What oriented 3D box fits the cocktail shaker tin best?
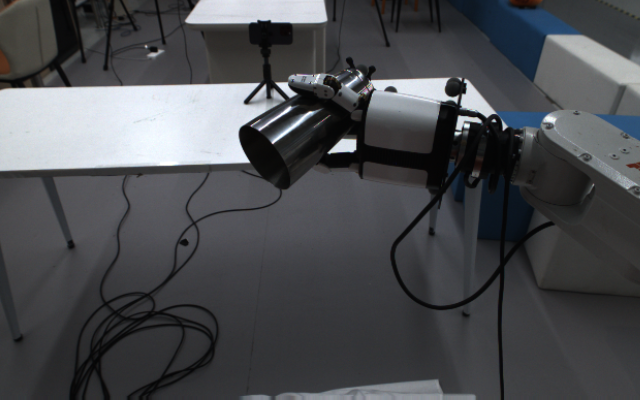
[{"bbox_3d":[-0.008,-0.103,0.615,0.170,0.093,0.093,-38,50,-24],"label":"cocktail shaker tin"}]
